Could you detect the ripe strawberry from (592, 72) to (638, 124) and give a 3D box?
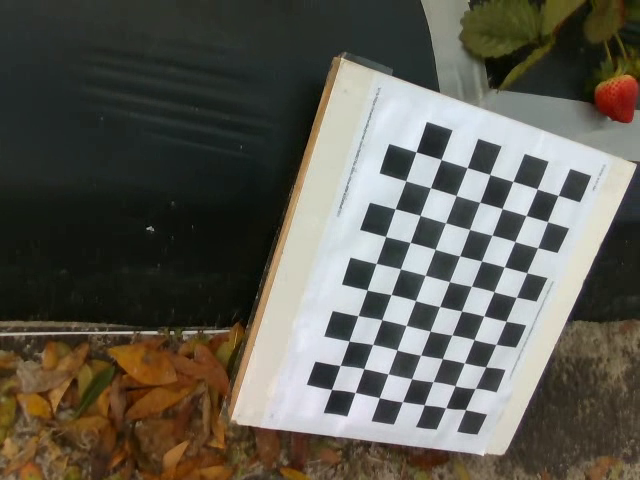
[{"bbox_3d":[0.243,-0.115,0.558,0.039,0.047,0.041,-18,18,0],"label":"ripe strawberry"}]
